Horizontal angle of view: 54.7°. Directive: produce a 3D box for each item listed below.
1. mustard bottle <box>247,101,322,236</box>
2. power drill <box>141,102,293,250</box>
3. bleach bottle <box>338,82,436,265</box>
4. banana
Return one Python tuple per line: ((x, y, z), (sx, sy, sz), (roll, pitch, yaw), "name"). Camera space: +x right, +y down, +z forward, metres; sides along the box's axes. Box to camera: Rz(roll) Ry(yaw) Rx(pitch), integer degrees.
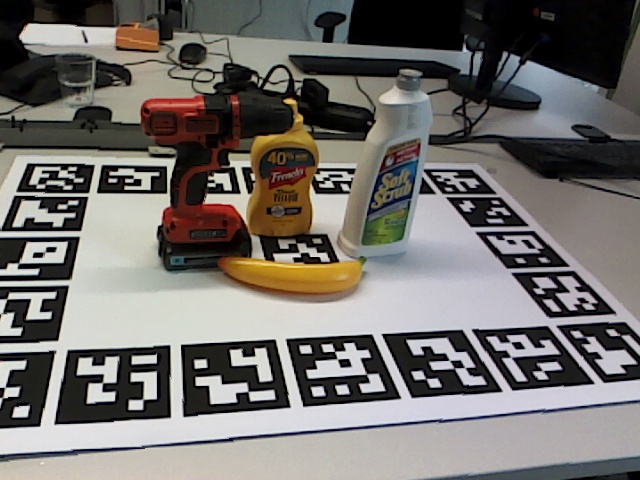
((-0.048, -0.099, 0.862), (0.096, 0.191, 0.059), (1, 32, -14), "mustard bottle")
((-0.131, -0.081, 0.779), (0.184, 0.187, 0.058), (0, 25, -18), "power drill")
((0.093, -0.087, 0.834), (0.102, 0.250, 0.068), (-5, 35, -21), "bleach bottle")
((-0.022, 0.040, 0.784), (0.197, 0.039, 0.074), (0, 36, -10), "banana")
